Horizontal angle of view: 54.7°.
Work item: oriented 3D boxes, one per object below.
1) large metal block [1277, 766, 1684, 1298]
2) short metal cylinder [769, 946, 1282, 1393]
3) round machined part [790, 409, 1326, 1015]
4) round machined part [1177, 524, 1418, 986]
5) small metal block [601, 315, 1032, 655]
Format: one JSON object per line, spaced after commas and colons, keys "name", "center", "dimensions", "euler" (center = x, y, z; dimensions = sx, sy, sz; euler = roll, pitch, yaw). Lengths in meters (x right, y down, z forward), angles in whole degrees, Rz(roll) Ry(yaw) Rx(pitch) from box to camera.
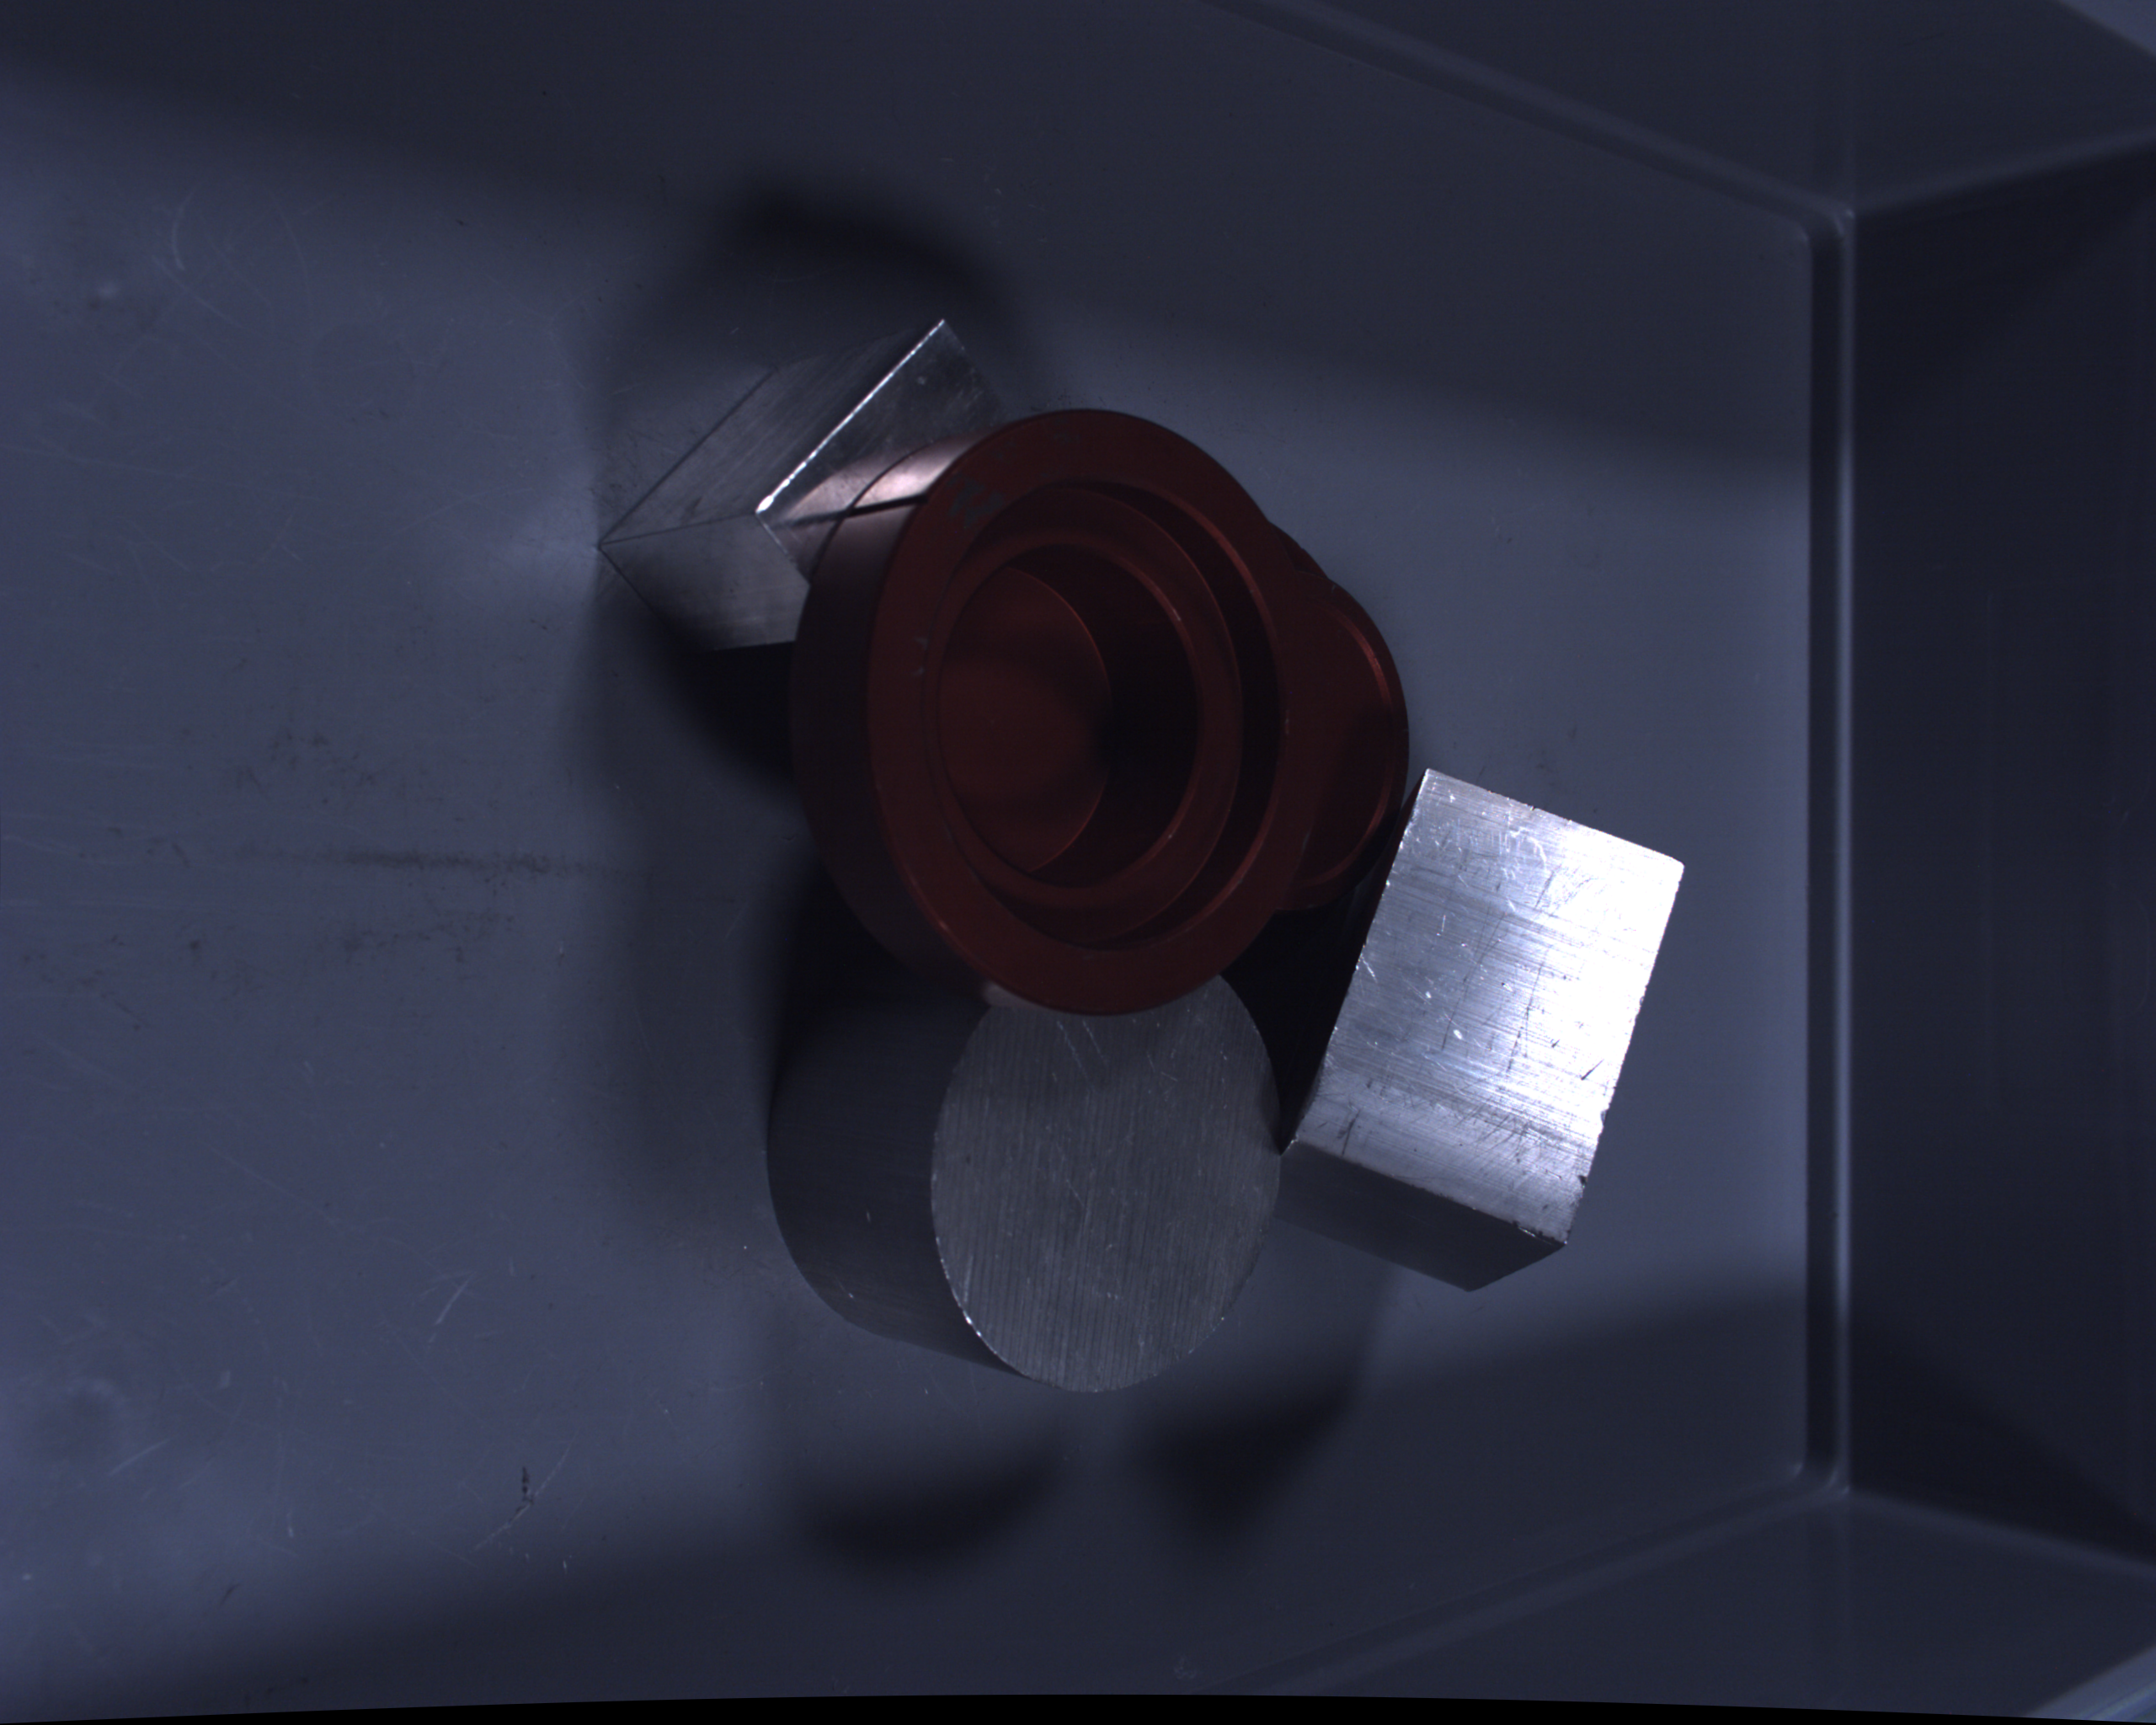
{"name": "large metal block", "center": [0.076, 0.038, 0.426], "dimensions": [0.050, 0.080, 0.080], "euler": [21, 72, 4]}
{"name": "short metal cylinder", "center": [-0.009, 0.052, 0.383], "dimensions": [0.081, 0.050, 0.079], "euler": [0, 90, -40]}
{"name": "round machined part", "center": [-0.007, -0.024, 0.351], "dimensions": [0.099, 0.042, 0.097], "euler": [0, 90, -40]}
{"name": "round machined part", "center": [0.030, -0.024, 0.418], "dimensions": [0.099, 0.042, 0.097], "euler": [0, 90, -40]}
{"name": "small metal block", "center": [-0.044, -0.063, 0.352], "dimensions": [0.025, 0.050, 0.050], "euler": [52, 60, -28]}
